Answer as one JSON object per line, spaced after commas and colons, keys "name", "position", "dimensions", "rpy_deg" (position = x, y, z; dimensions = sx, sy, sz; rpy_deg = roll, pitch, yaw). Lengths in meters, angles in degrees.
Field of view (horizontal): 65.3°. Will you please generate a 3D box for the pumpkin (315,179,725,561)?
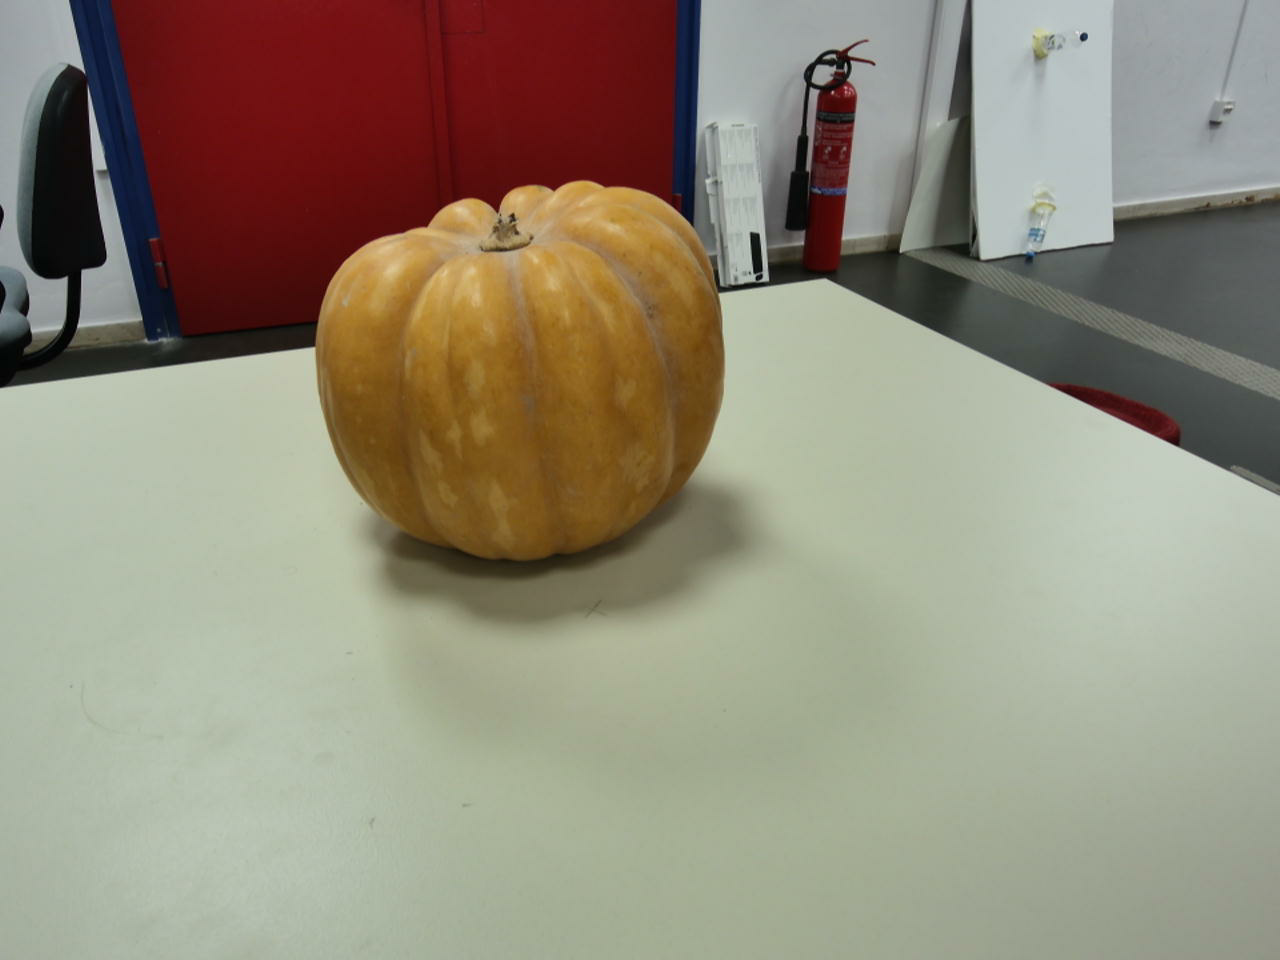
{"name": "pumpkin", "position": [-0.062, -0.062, 0.560], "dimensions": [0.230, 0.194, 0.230], "rpy_deg": [0, 27, 0]}
